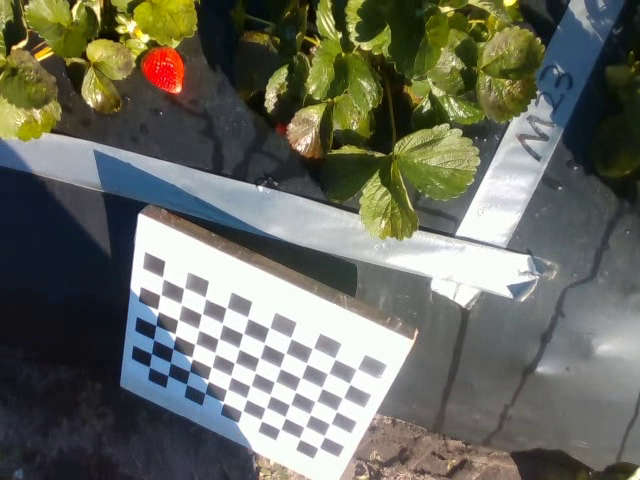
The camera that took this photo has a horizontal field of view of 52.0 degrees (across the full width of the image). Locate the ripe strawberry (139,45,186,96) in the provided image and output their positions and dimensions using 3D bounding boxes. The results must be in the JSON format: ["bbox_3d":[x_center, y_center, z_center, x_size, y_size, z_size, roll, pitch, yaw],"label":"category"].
[{"bbox_3d":[-0.154,-0.166,0.650,0.046,0.058,0.042,-36,-5,35],"label":"ripe strawberry"}]
